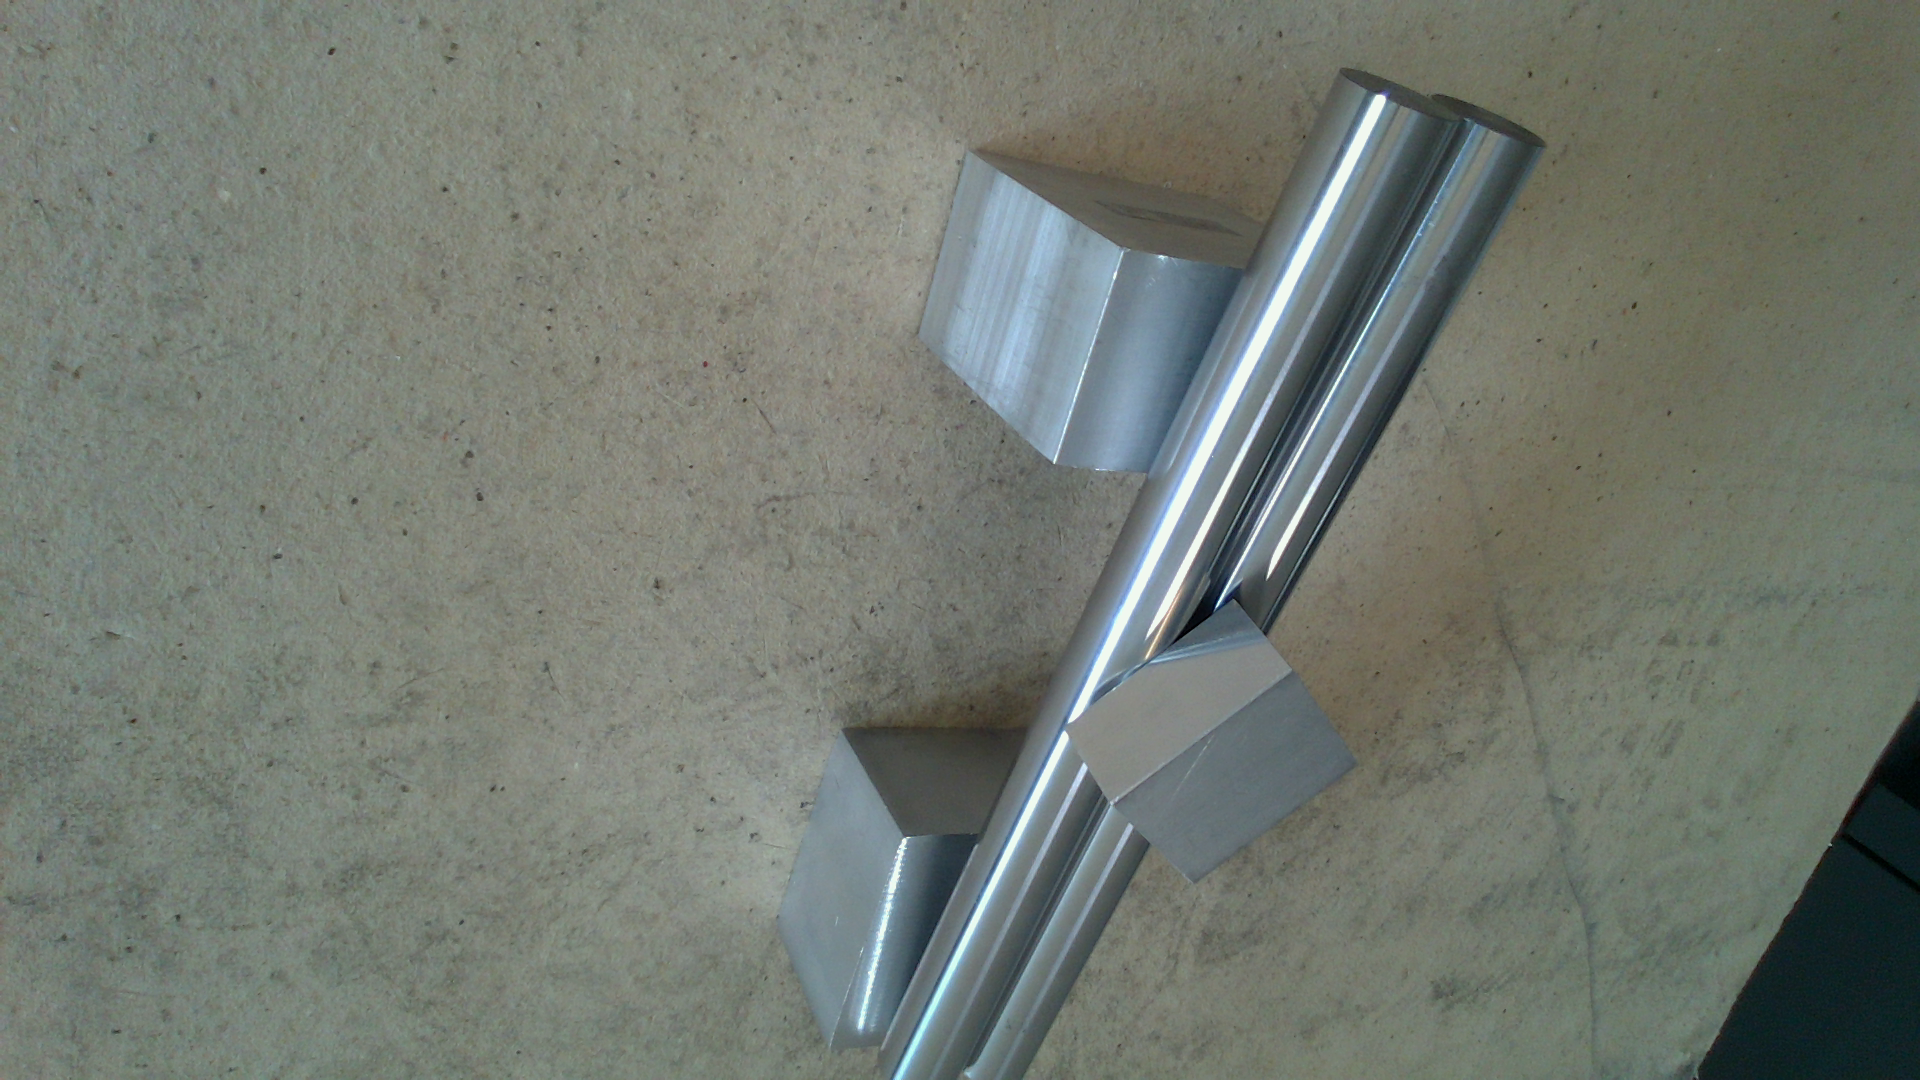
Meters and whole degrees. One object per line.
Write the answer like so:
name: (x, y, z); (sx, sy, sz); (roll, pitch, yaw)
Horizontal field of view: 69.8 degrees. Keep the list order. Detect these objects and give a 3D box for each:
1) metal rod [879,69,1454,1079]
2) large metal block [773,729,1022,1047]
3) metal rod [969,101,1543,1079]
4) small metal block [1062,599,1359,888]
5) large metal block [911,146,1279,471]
metal rod: (0.036, 0.036, 0.337); (0.025, 0.025, 0.300); (3, 124, -30)
large metal block: (-0.004, 0.107, 0.436); (0.080, 0.050, 0.080); (5, 116, -31)
metal rod: (0.058, 0.038, 0.350); (0.025, 0.025, 0.300); (3, 124, -30)
small metal block: (0.060, 0.049, 0.326); (0.050, 0.025, 0.050); (-38, 135, 4)
large metal block: (0.045, -0.056, 0.344); (0.080, 0.080, 0.050); (3, 117, -30)
